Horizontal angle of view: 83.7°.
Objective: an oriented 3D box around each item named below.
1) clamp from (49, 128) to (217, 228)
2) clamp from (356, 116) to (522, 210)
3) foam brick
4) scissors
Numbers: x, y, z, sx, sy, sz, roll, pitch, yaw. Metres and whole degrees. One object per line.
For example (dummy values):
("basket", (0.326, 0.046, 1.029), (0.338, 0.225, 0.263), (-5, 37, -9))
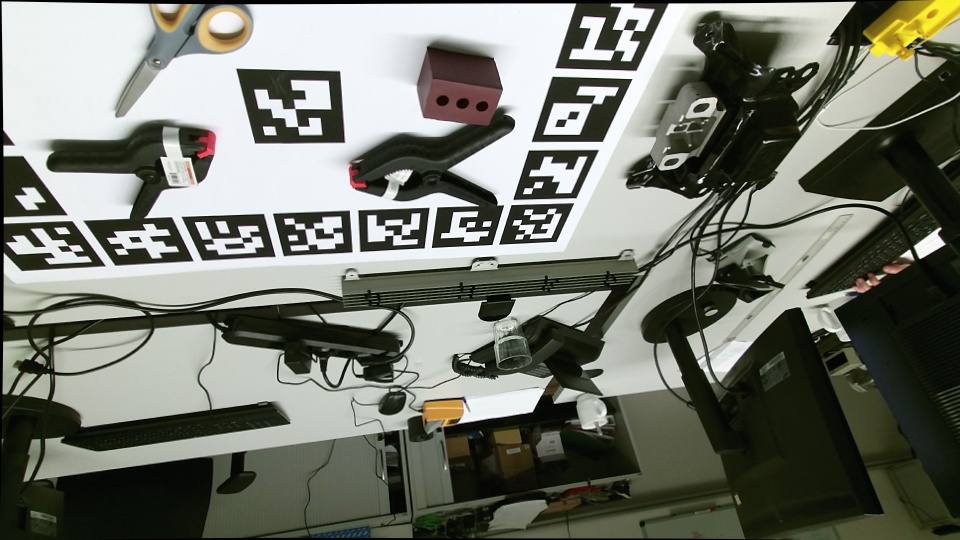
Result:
("clamp", (-0.374, -0.115, 0.611), (0.165, 0.036, 0.122), (-20, 139, 9))
("clamp", (-0.056, -0.128, 0.692), (0.203, 0.036, 0.165), (-5, 149, -10))
("foam brick", (-0.018, -0.204, 0.584), (0.078, 0.051, 0.053), (-3, 144, -23))
("scissors", (-0.291, -0.206, 0.511), (0.203, 0.016, 0.088), (-32, 134, 29))
